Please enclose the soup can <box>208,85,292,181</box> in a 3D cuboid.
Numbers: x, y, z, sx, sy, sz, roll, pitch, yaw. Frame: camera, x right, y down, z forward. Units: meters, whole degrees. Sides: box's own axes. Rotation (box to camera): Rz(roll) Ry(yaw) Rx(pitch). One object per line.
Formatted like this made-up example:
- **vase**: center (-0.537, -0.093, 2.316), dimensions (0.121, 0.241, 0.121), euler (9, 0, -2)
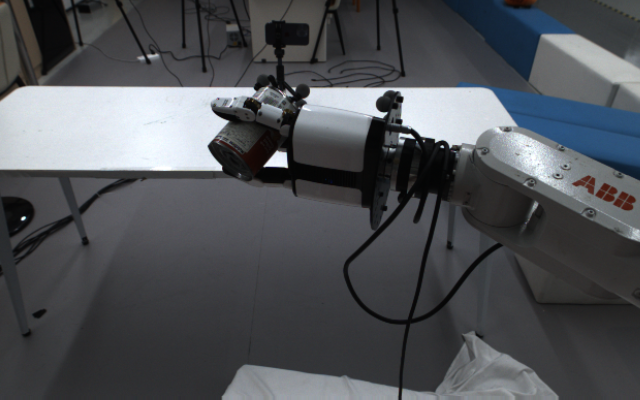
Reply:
- **soup can**: center (-0.079, -0.082, 0.595), dimensions (0.067, 0.067, 0.101), euler (25, 66, 29)
